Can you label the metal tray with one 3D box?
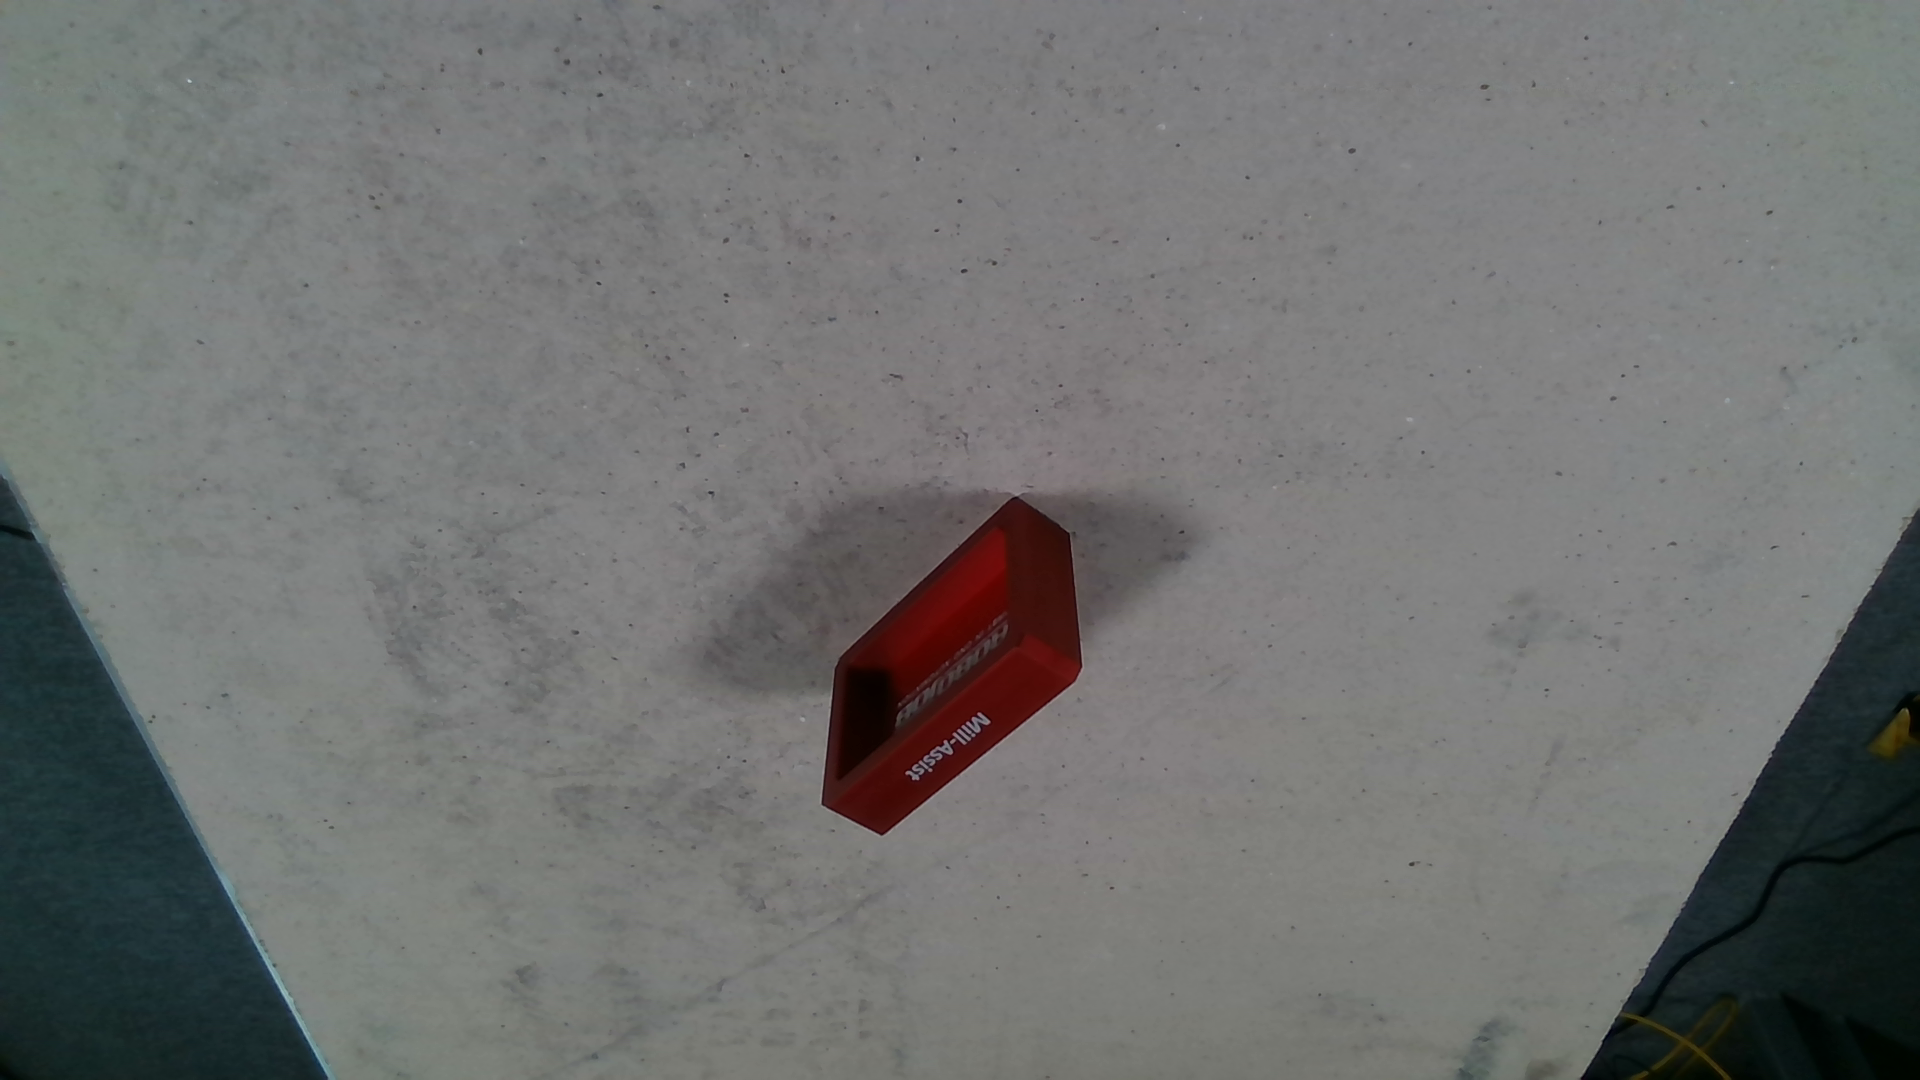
[{"bbox_3d":[-0.006,0.054,0.582,0.030,0.090,0.130,32,123,-24],"label":"metal tray"}]
